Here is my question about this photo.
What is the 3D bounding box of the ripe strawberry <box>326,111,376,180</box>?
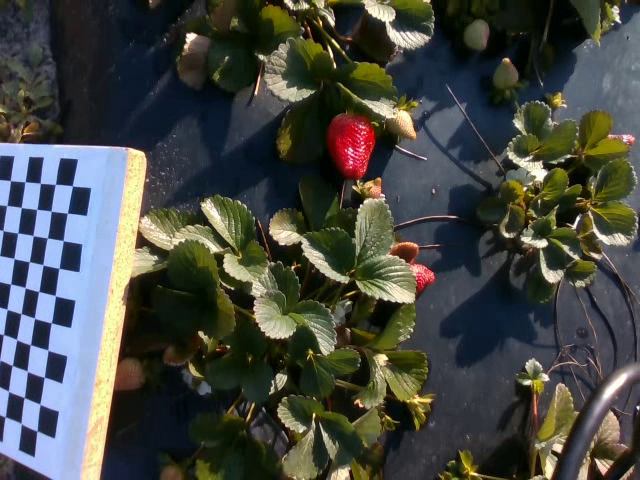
[{"bbox_3d":[0.028,-0.084,0.547,0.056,0.072,0.055,-20,-23,31],"label":"ripe strawberry"}]
